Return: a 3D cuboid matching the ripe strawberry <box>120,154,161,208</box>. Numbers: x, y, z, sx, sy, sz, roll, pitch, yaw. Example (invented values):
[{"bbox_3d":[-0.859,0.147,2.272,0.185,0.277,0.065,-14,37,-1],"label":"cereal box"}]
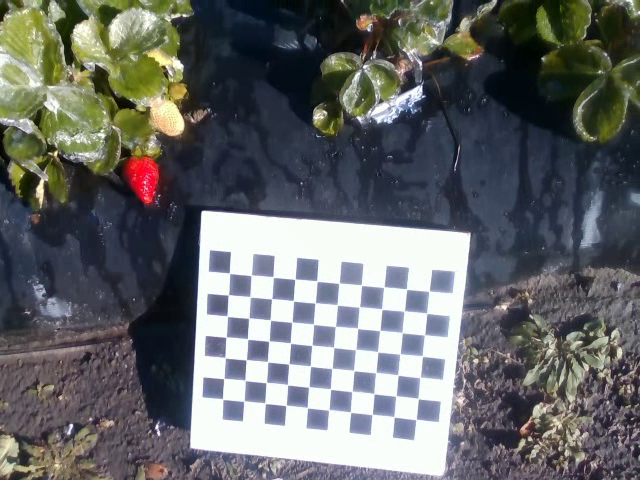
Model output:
[{"bbox_3d":[-0.191,-0.062,0.639,0.041,0.052,0.040,-13,-1,4],"label":"ripe strawberry"}]
